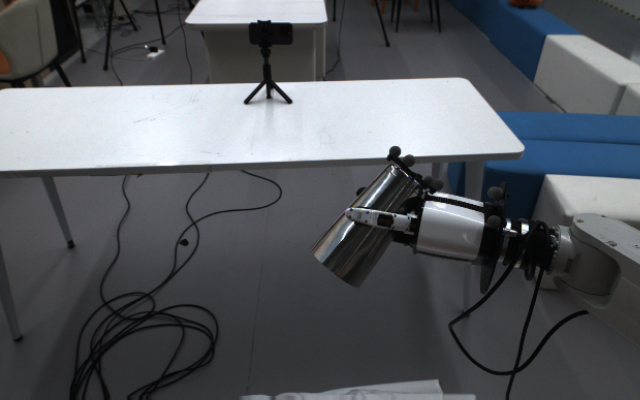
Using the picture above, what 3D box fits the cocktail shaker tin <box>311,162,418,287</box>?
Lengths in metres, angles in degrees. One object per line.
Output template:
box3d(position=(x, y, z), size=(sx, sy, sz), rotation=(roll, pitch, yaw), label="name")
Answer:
box3d(position=(0.075, 0.030, 0.708), size=(0.170, 0.093, 0.093), rotation=(-50, 46, 4), label="cocktail shaker tin")
